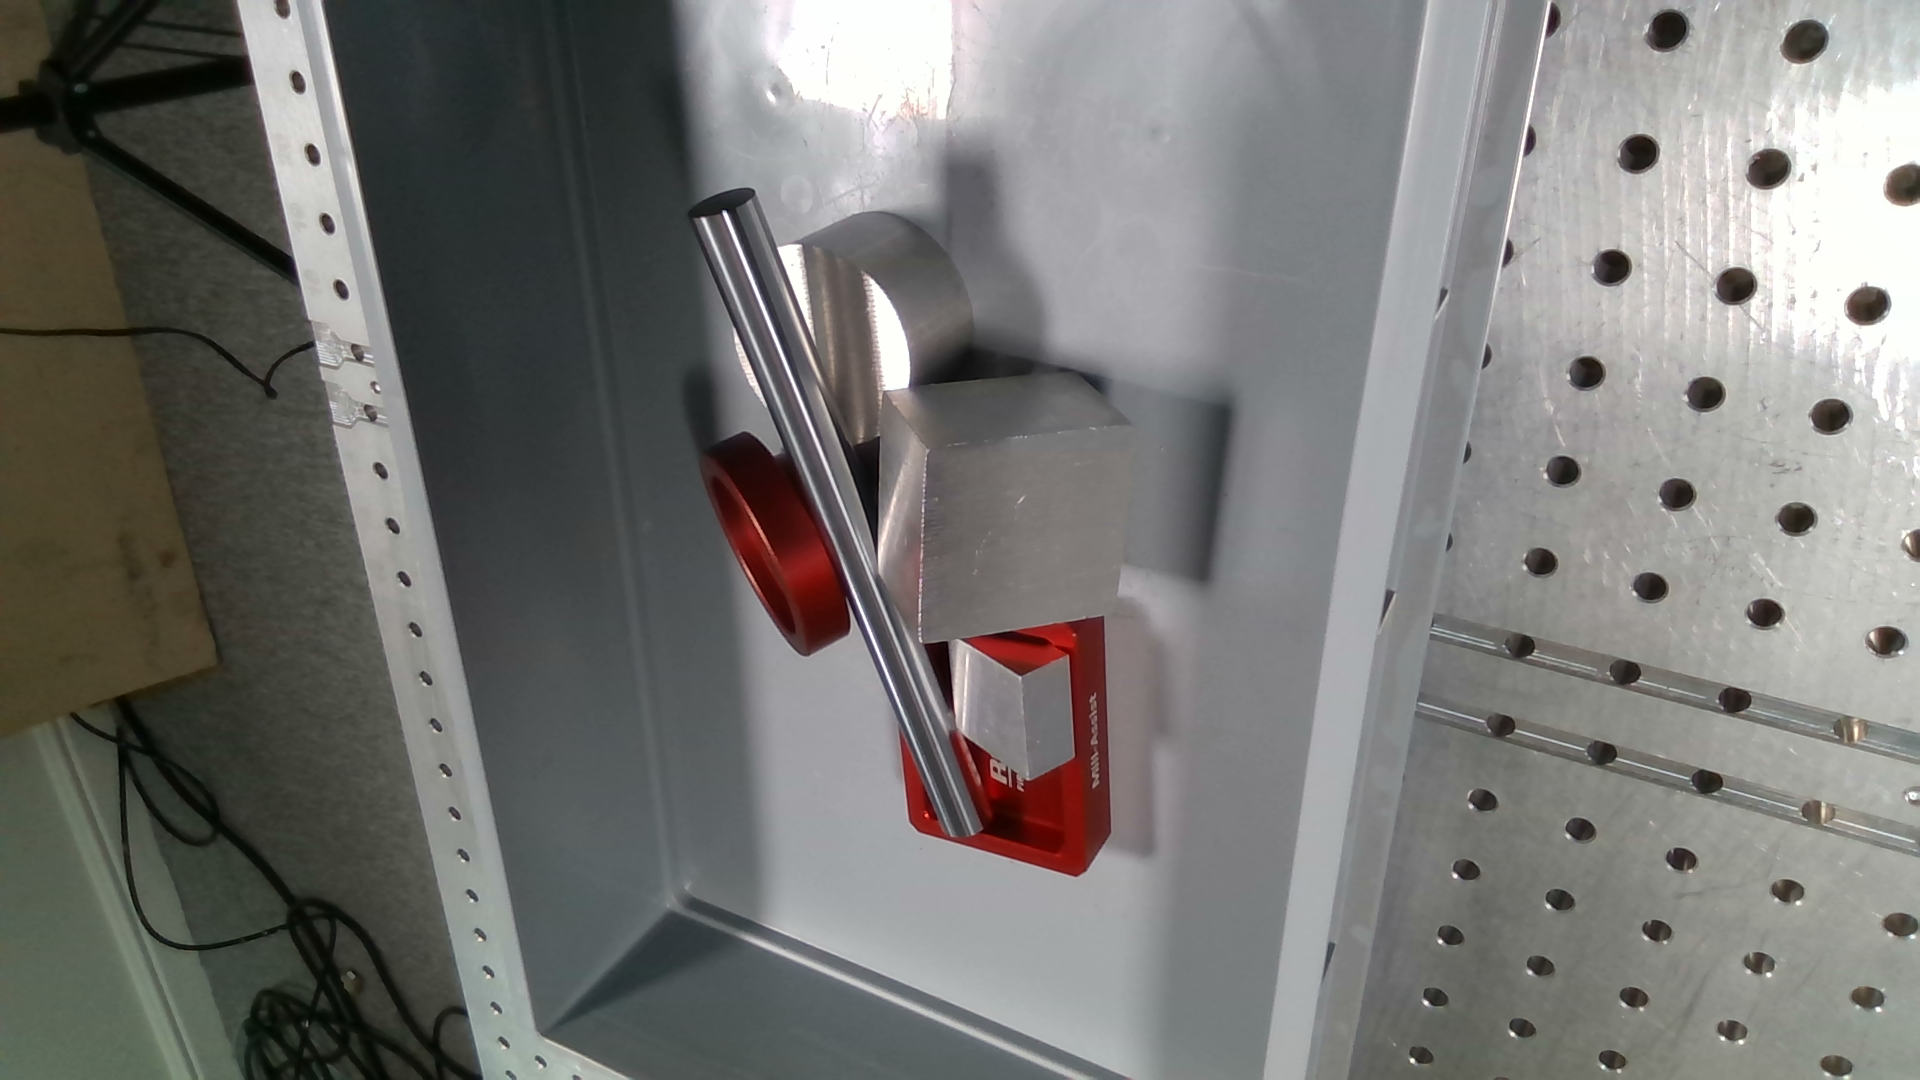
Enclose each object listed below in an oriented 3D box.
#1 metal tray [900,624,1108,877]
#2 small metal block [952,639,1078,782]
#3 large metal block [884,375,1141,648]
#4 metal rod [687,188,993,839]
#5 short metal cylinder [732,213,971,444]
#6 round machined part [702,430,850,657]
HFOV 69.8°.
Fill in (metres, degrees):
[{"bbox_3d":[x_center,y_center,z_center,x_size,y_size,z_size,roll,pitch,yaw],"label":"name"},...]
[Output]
[{"bbox_3d":[0.018,0.079,0.607,0.090,0.030,0.130,10,120,27],"label":"metal tray"},{"bbox_3d":[0.022,0.064,0.572,0.050,0.025,0.050,29,131,49],"label":"small metal block"},{"bbox_3d":[0.017,-0.012,0.517,0.050,0.080,0.080,-125,33,-55],"label":"large metal block"},{"bbox_3d":[-0.040,0.005,0.552,0.025,0.025,0.301,2,127,31],"label":"metal rod"},{"bbox_3d":[-0.043,-0.083,0.542,0.080,0.050,0.080,14,122,25],"label":"short metal cylinder"},{"bbox_3d":[-0.071,-0.003,0.589,0.098,0.042,0.098,54,161,28],"label":"round machined part"}]
